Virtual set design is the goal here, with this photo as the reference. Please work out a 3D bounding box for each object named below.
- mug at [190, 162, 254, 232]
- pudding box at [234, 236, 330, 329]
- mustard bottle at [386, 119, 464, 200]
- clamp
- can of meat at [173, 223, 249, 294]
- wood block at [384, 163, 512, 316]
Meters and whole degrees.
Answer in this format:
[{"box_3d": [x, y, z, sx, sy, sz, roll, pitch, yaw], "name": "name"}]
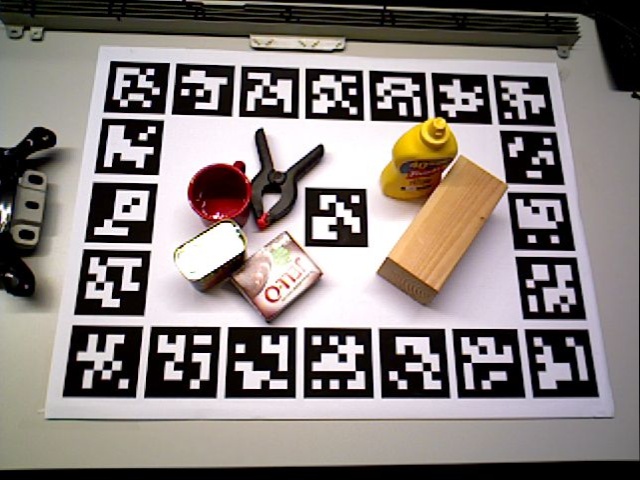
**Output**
[{"box_3d": [-0.141, -0.064, 0.833, 0.093, 0.082, 0.116, 23, 74, 3], "name": "mug"}, {"box_3d": [-0.056, 0.062, 0.799, 0.112, 0.039, 0.090, -38, 79, -15], "name": "pudding box"}, {"box_3d": [0.159, -0.120, 0.784, 0.095, 0.194, 0.058, -3, 72, -5], "name": "mustard bottle"}, {"box_3d": [-0.060, -0.098, 0.853, 0.121, 0.037, 0.163, 20, 75, 1], "name": "clamp"}, {"box_3d": [-0.151, 0.029, 0.774, 0.101, 0.085, 0.057, -28, 77, -12], "name": "can of meat"}, {"box_3d": [0.195, -0.002, 0.809, 0.090, 0.092, 0.203, 37, 72, 10], "name": "wood block"}]
